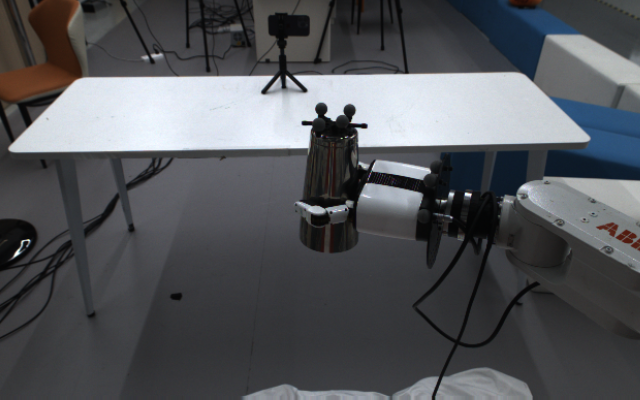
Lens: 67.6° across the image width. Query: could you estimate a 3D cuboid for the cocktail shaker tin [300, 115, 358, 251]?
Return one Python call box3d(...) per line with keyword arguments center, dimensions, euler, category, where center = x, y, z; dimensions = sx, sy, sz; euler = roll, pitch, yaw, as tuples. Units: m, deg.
box3d(center=(0.018, -0.021, 0.699), dimensions=(0.093, 0.170, 0.093), euler=(2, 28, -1), category="cocktail shaker tin")
